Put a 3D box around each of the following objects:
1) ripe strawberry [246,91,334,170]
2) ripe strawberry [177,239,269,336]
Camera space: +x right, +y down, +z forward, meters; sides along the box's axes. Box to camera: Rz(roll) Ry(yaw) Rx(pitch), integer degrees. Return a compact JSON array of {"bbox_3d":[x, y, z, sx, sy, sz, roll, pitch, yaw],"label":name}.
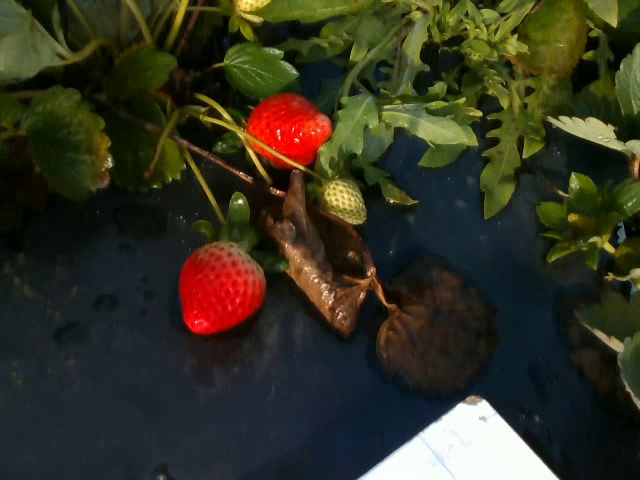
[{"bbox_3d":[-0.011,-0.052,0.282,0.039,0.032,0.049,-44,25,-30],"label":"ripe strawberry"},{"bbox_3d":[-0.038,0.018,0.231,0.035,0.043,0.030,15,-40,7],"label":"ripe strawberry"}]
